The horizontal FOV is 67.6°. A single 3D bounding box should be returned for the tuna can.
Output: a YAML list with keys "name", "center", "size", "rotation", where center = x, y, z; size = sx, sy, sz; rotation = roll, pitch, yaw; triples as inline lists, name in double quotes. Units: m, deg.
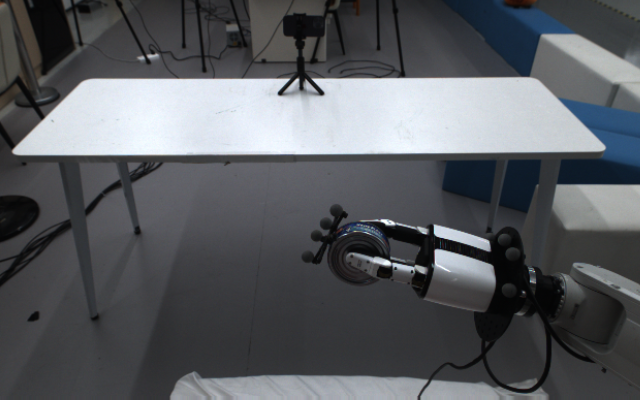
- name: "tuna can"
  center: [0.057, 0.072, 0.664]
  size: [0.085, 0.085, 0.034]
  rotation: [3, 21, 1]
